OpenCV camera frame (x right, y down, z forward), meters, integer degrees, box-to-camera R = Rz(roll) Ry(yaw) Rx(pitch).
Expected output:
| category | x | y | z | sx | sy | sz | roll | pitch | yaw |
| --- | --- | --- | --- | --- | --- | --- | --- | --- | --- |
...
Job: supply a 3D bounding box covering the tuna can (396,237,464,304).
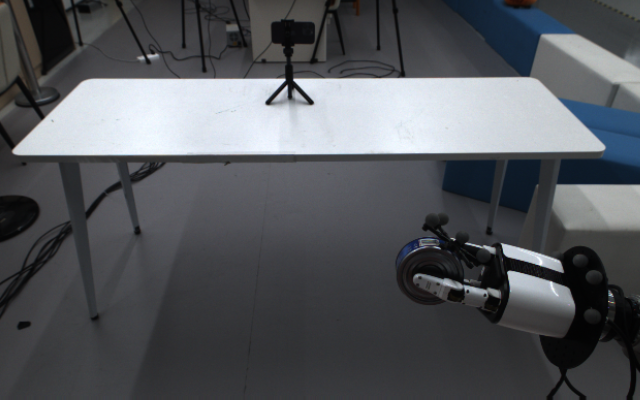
| category | x | y | z | sx | sy | sz | roll | pitch | yaw |
| --- | --- | --- | --- | --- | --- | --- | --- | --- | --- |
| tuna can | 0.143 | 0.090 | 0.627 | 0.085 | 0.085 | 0.034 | 7 | 19 | 6 |
